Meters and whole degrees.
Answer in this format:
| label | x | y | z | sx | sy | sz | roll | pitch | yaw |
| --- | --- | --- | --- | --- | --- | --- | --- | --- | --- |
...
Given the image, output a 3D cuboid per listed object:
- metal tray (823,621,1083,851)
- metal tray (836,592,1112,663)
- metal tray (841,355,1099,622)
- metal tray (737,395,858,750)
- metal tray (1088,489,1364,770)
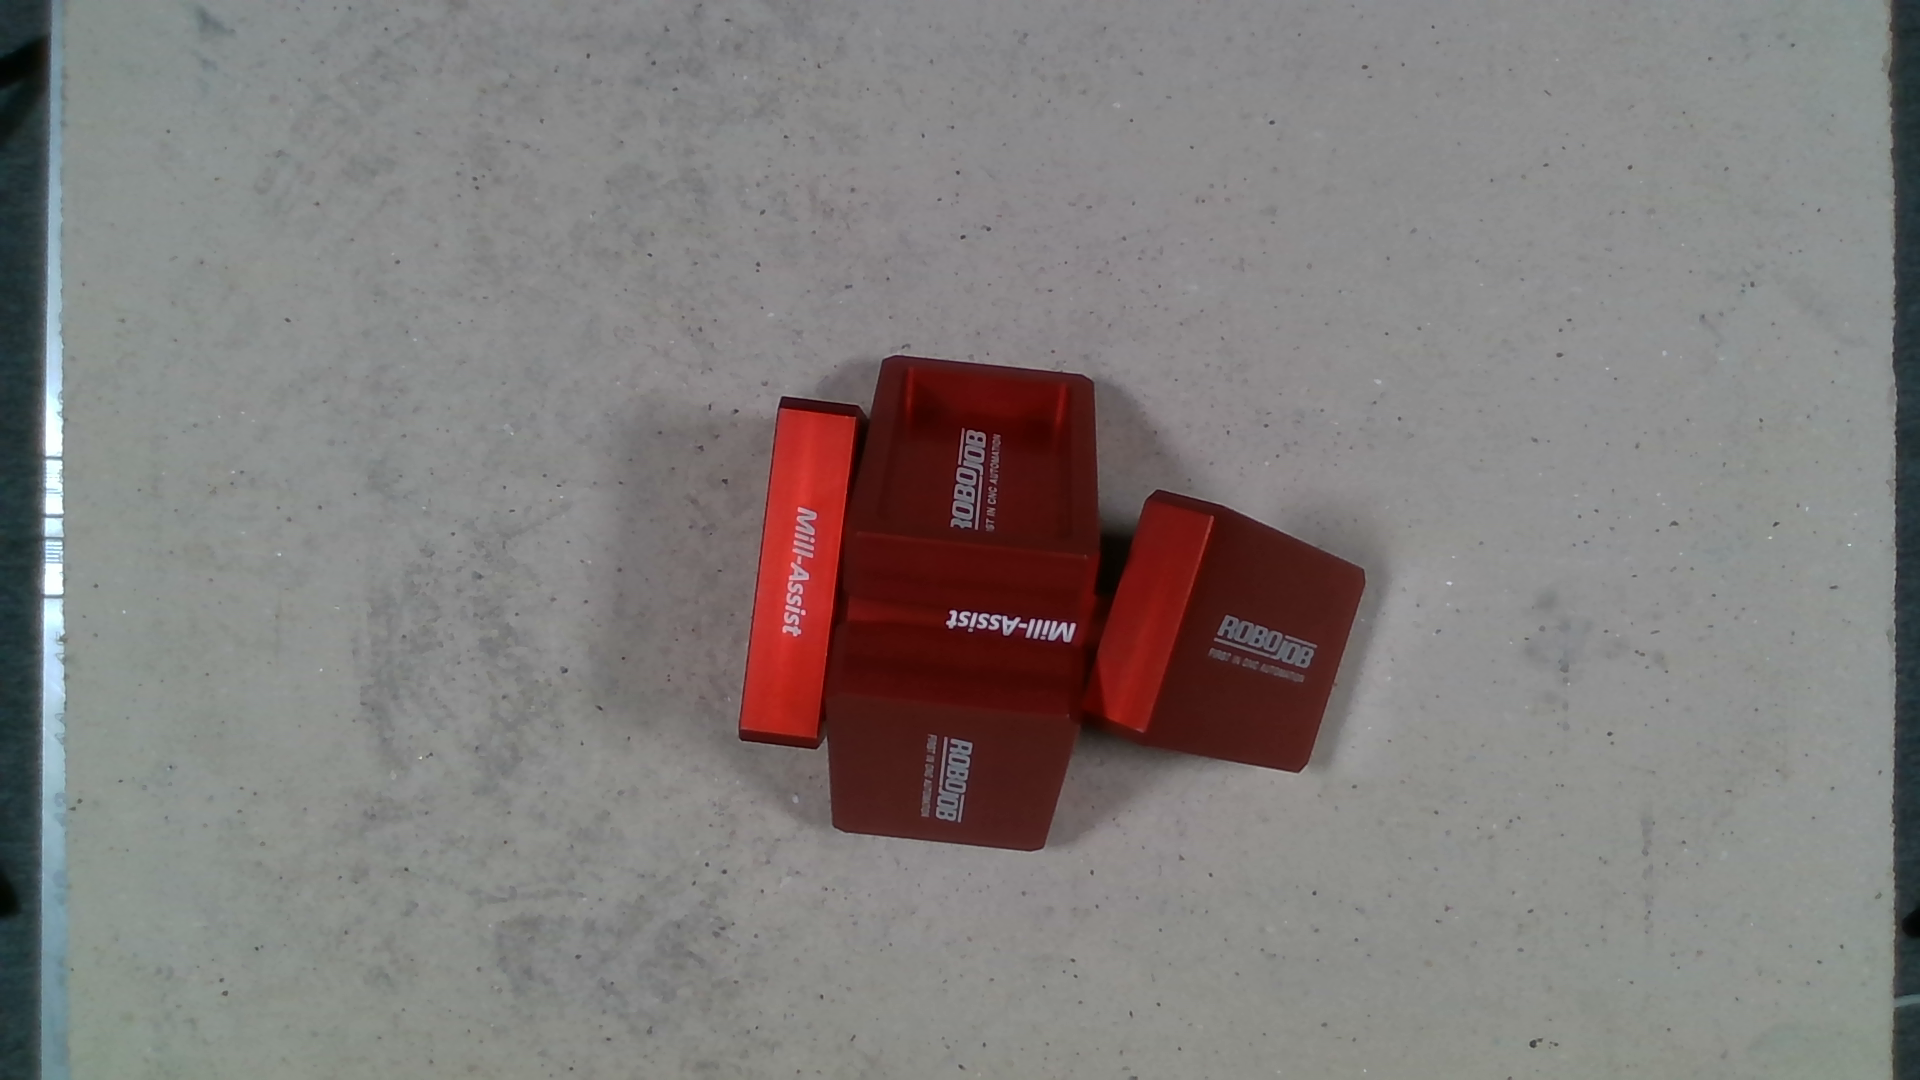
| label | x | y | z | sx | sy | sz | roll | pitch | yaw |
| --- | --- | --- | --- | --- | --- | --- | --- | --- | --- |
| metal tray | -0.005 | 0.080 | 0.538 | 0.090 | 0.130 | 0.030 | 6 | 57 | 0 |
| metal tray | 0.019 | 0.032 | 0.554 | 0.130 | 0.090 | 0.030 | 7 | 90 | 0 |
| metal tray | 0.006 | -0.024 | 0.538 | 0.090 | 0.130 | 0.030 | 6 | 126 | 0 |
| metal tray | -0.061 | 0.012 | 0.554 | 0.030 | 0.090 | 0.130 | 7 | 90 | 0 |
| metal tray | 0.107 | 0.039 | 0.542 | 0.030 | 0.130 | 0.090 | 18 | 91 | 41 |
